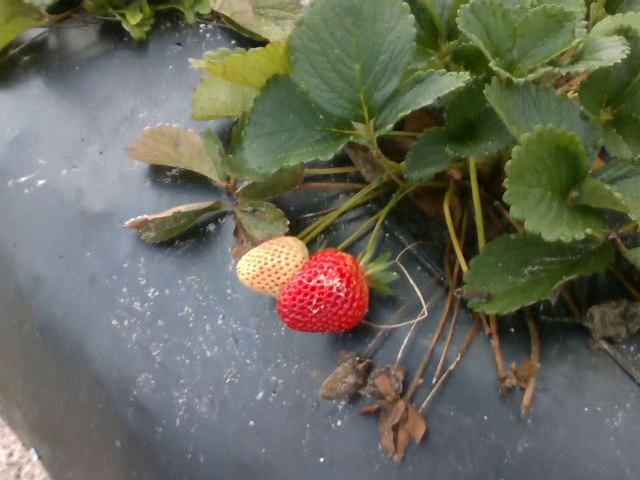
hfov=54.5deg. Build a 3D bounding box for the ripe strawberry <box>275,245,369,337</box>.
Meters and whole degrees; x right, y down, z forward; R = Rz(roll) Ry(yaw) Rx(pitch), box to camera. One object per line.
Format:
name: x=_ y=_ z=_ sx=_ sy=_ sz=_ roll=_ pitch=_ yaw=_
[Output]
ripe strawberry: x=0.000 y=0.020 z=0.237 sx=0.041 sy=0.034 sz=0.033 roll=-12 pitch=-22 yaw=-28
